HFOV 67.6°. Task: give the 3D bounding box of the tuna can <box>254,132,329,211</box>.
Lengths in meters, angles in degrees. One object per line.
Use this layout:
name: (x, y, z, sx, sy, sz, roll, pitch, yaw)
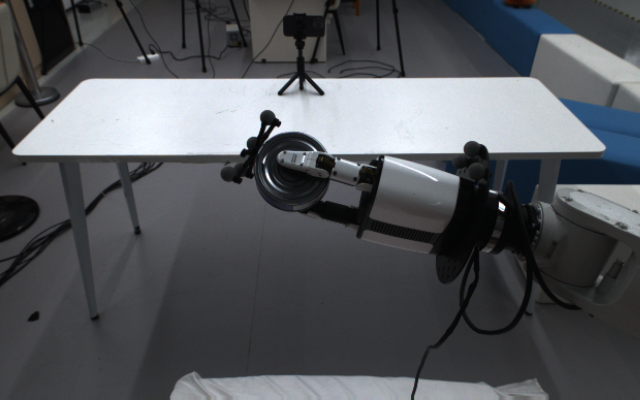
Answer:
tuna can: (-0.026, -0.028, 0.537, 0.085, 0.034, 0.085, 1, 76, -5)
